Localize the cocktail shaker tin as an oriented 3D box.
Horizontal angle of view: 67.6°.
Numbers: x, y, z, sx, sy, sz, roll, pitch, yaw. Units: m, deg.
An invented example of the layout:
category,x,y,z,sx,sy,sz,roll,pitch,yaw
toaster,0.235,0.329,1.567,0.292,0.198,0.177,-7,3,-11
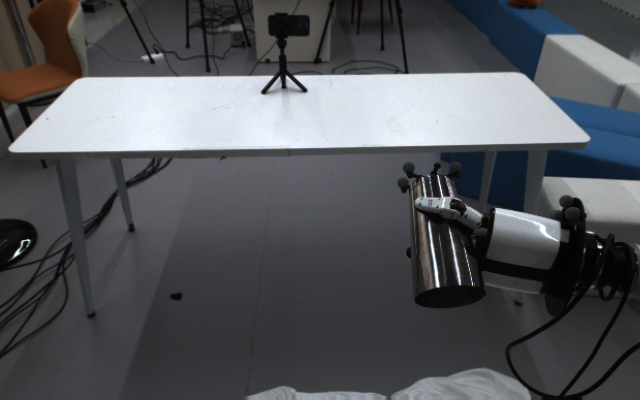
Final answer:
category,x,y,z,sx,sy,sz,roll,pitch,yaw
cocktail shaker tin,0.165,0.052,0.664,0.093,0.093,0.170,0,59,-3
